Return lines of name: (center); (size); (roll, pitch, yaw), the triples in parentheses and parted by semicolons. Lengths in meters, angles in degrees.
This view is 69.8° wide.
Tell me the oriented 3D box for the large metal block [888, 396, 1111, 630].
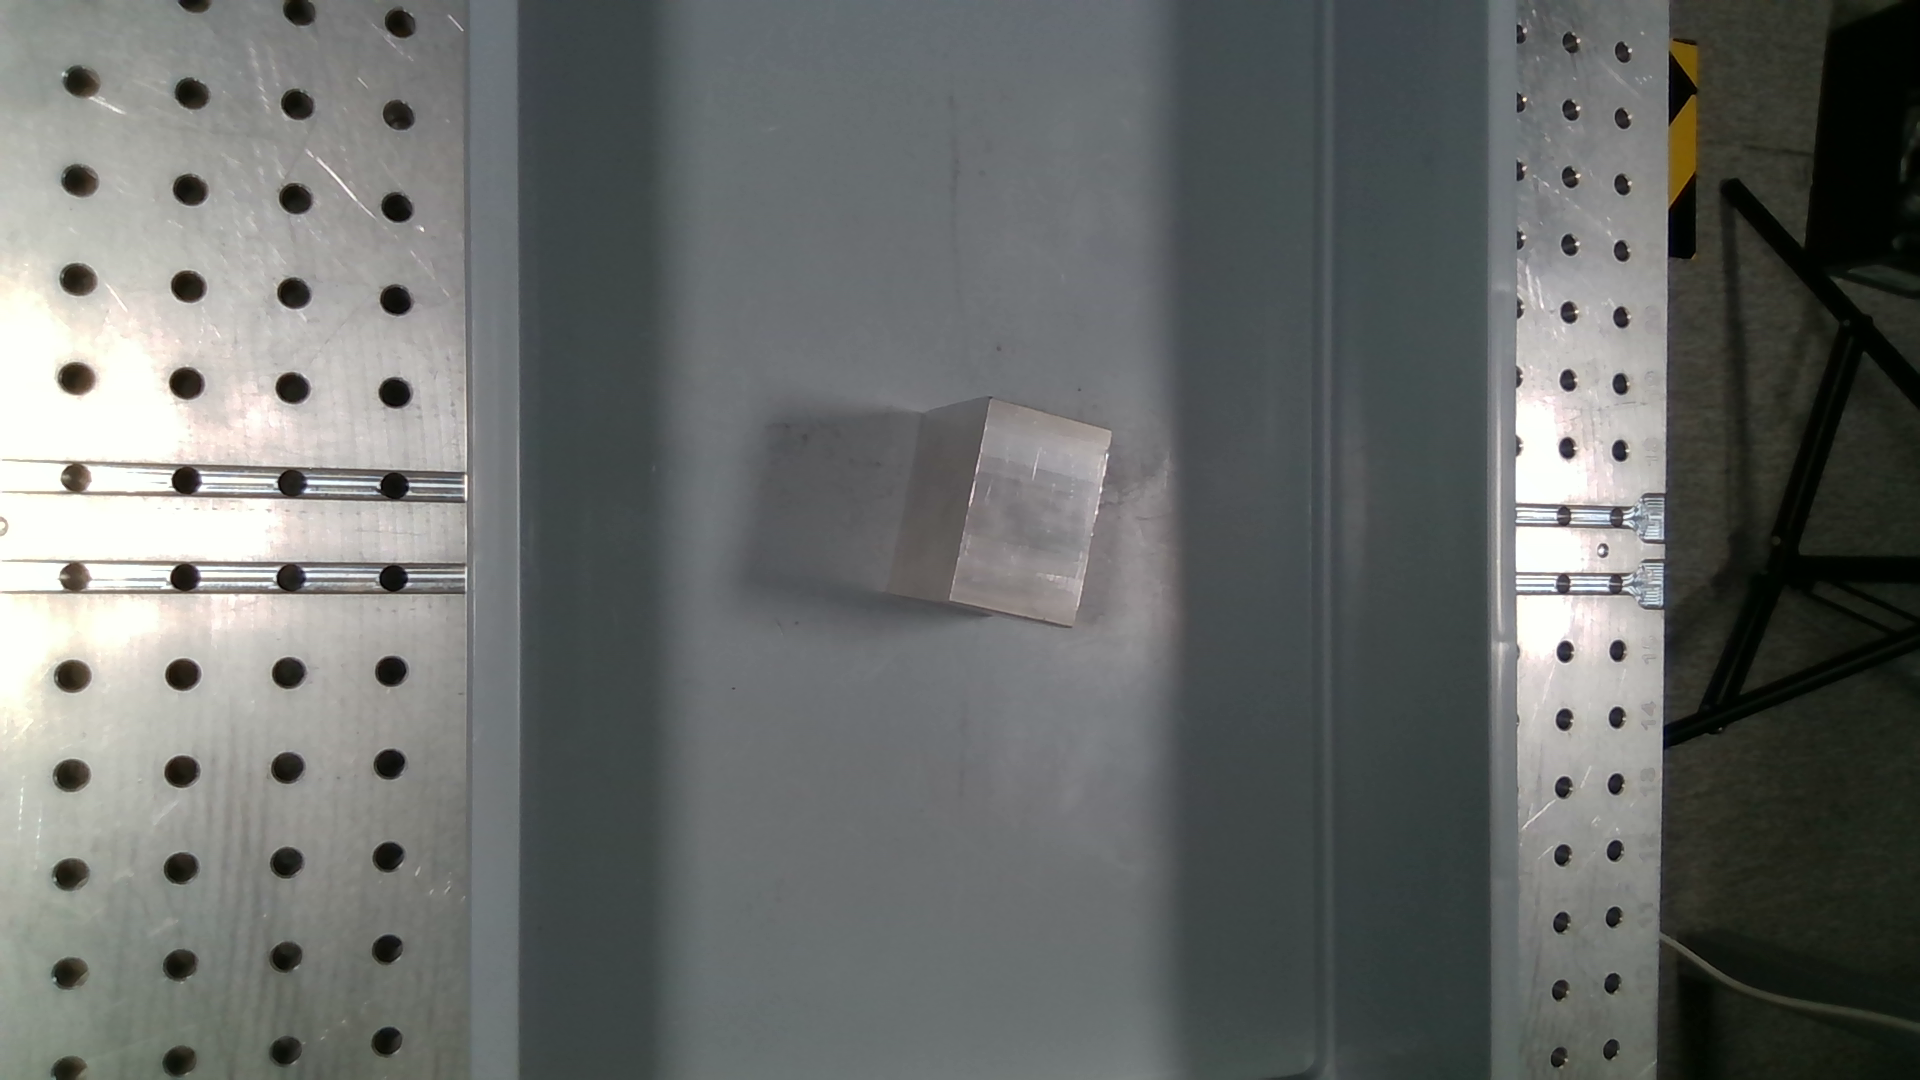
large metal block: (0.014, -0.010, 0.560); (0.050, 0.080, 0.080); (13, 86, -20)
